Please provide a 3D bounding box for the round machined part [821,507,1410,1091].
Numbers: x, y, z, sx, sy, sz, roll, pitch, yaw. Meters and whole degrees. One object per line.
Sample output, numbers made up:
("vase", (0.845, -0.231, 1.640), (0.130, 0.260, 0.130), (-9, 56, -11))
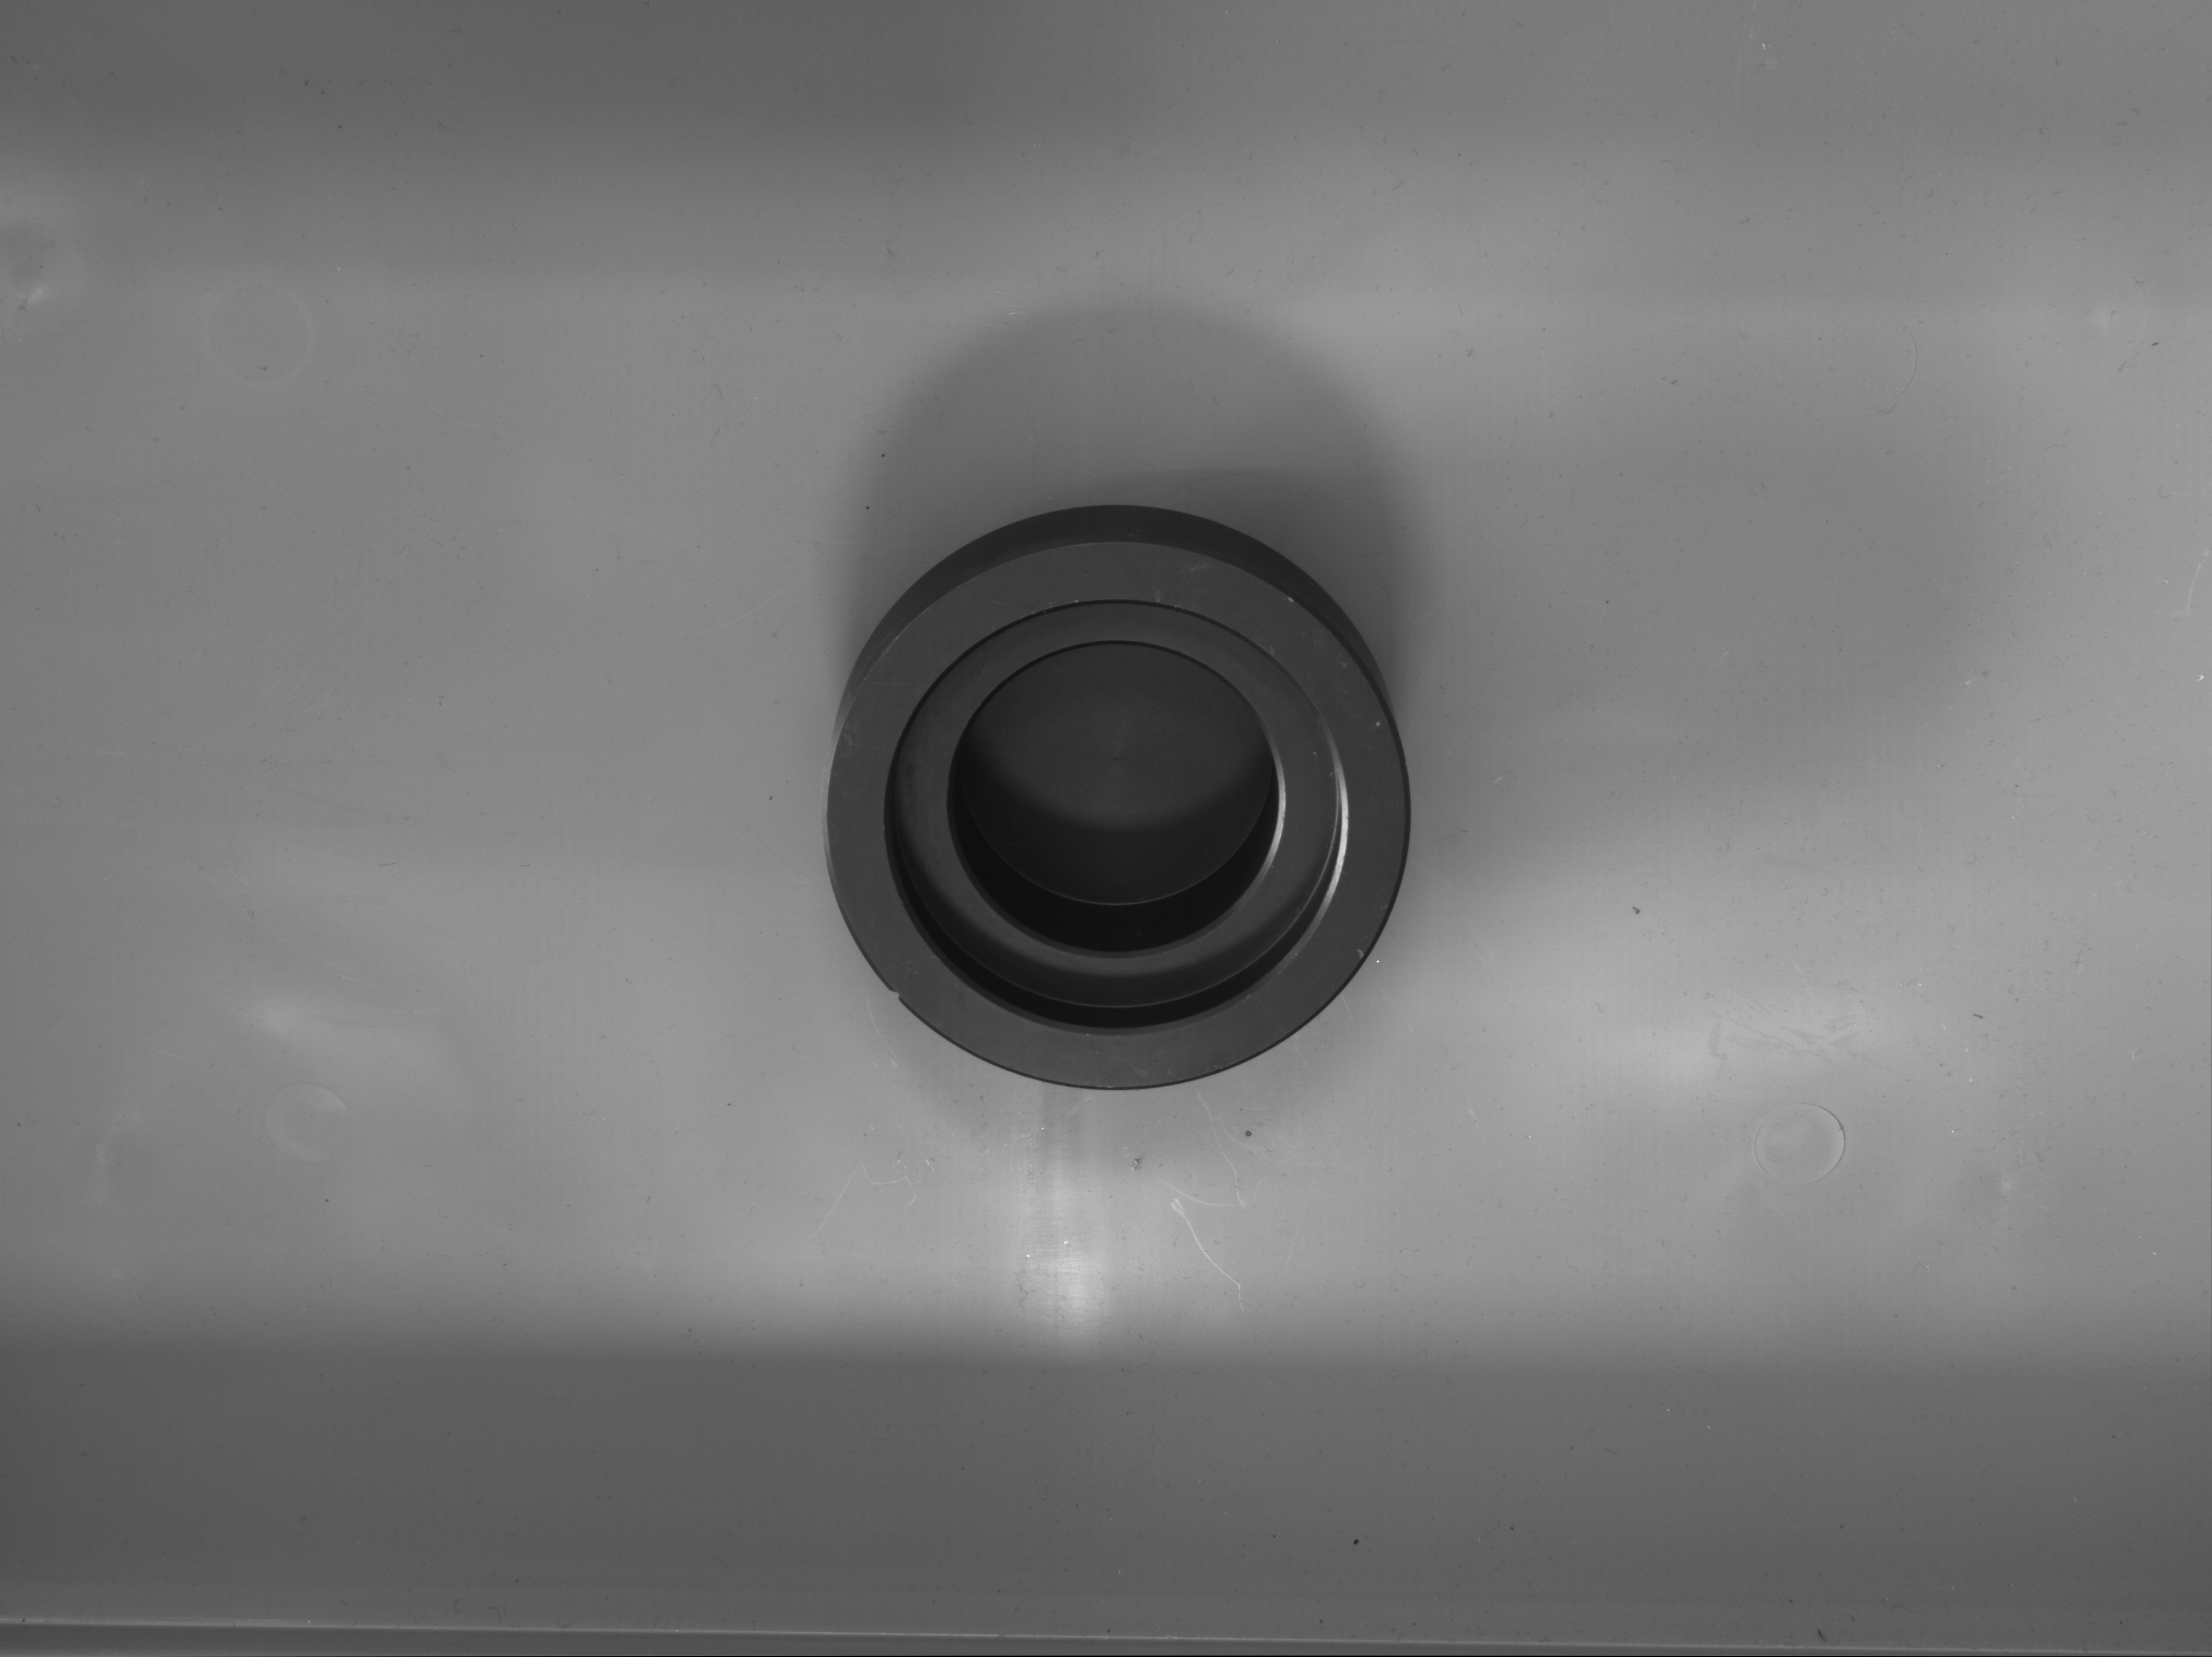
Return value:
("round machined part", (0.002, -0.008, 0.629), (0.098, 0.042, 0.098), (0, 110, 0))
